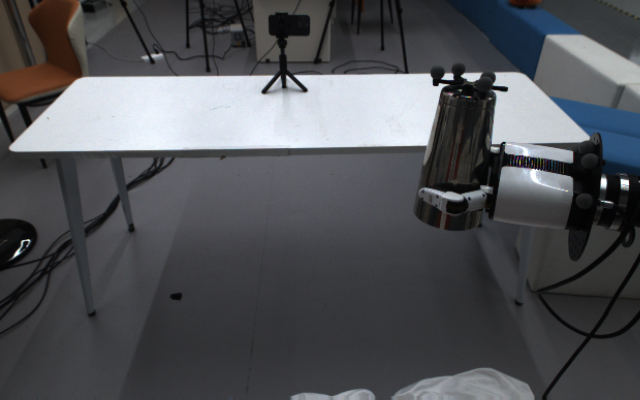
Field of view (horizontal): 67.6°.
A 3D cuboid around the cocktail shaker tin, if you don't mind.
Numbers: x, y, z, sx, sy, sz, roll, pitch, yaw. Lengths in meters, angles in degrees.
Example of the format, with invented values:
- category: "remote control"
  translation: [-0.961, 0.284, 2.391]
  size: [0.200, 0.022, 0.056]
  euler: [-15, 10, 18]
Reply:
- category: "cocktail shaker tin"
  translation: [0.180, -0.057, 0.629]
  size: [0.093, 0.170, 0.093]
  euler: [1, 28, -1]
